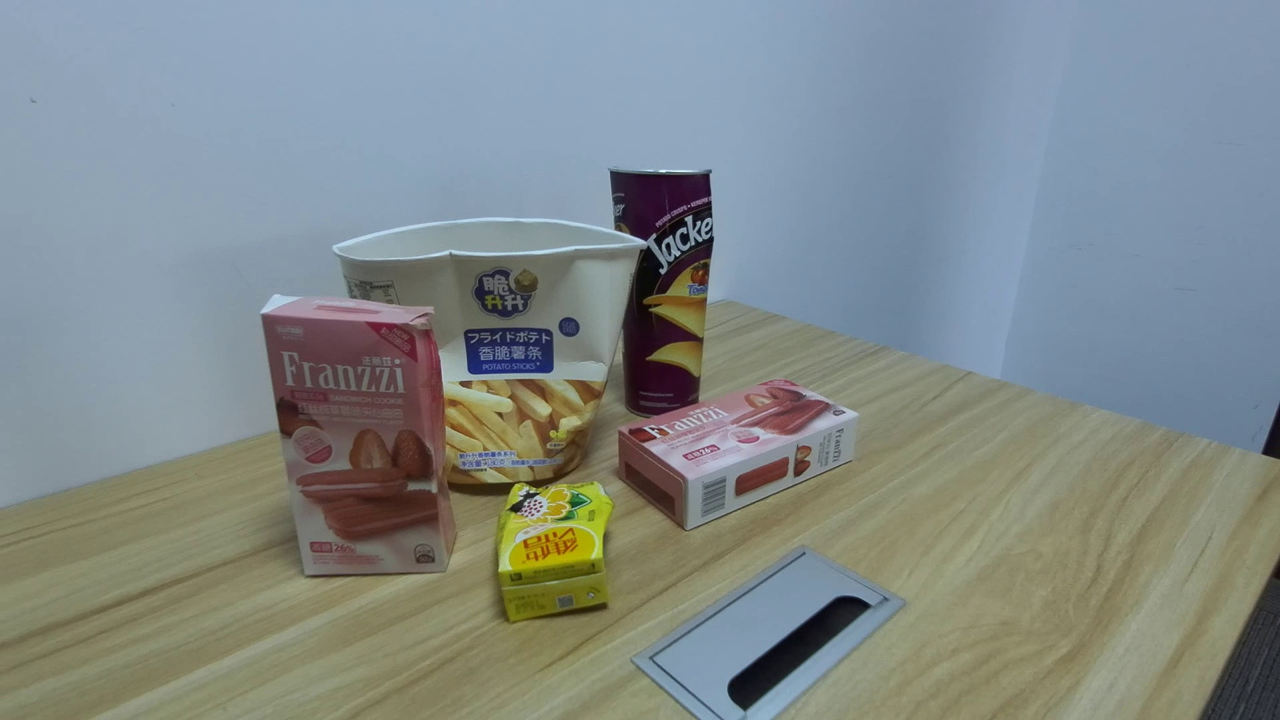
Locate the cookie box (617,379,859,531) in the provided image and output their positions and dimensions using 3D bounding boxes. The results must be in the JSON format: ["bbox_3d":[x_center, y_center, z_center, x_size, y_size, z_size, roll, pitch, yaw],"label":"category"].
[{"bbox_3d":[0.083,0.071,0.592,0.185,0.048,0.095,-15,27,-31],"label":"cookie box"}]

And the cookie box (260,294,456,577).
[{"bbox_3d":[-0.177,0.053,0.464,0.118,0.184,0.055,1,22,3],"label":"cookie box"}]

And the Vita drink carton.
[{"bbox_3d":[-0.058,0.123,0.476,0.087,0.042,0.108,-9,19,-2],"label":"Vita drink carton"}]

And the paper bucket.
[{"bbox_3d":[-0.116,-0.009,0.597,0.219,0.199,0.147,-15,26,-30],"label":"paper bucket"}]

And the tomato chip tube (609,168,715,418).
[{"bbox_3d":[0.022,-0.064,0.681,0.076,0.235,0.077,-12,23,-27],"label":"tomato chip tube"}]
